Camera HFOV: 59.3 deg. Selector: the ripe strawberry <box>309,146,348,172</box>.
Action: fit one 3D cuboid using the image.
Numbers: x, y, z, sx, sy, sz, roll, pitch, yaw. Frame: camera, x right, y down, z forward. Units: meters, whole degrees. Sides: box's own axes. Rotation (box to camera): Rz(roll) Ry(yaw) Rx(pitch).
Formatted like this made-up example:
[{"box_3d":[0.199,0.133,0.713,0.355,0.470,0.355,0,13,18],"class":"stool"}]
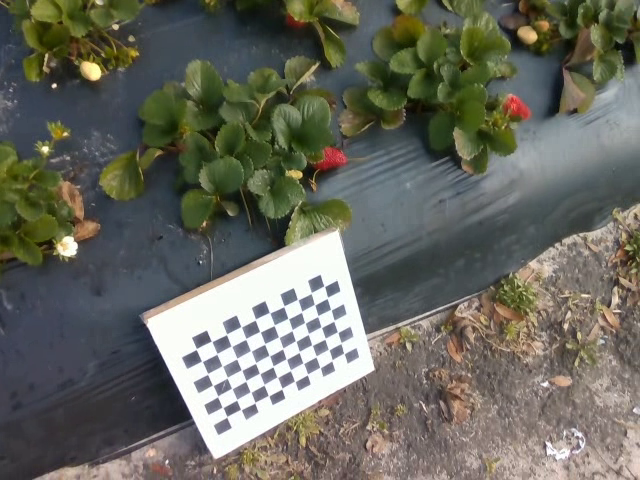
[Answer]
[{"box_3d":[0.014,-0.115,0.777,0.064,0.051,0.043,7,16,-28],"class":"ripe strawberry"}]
